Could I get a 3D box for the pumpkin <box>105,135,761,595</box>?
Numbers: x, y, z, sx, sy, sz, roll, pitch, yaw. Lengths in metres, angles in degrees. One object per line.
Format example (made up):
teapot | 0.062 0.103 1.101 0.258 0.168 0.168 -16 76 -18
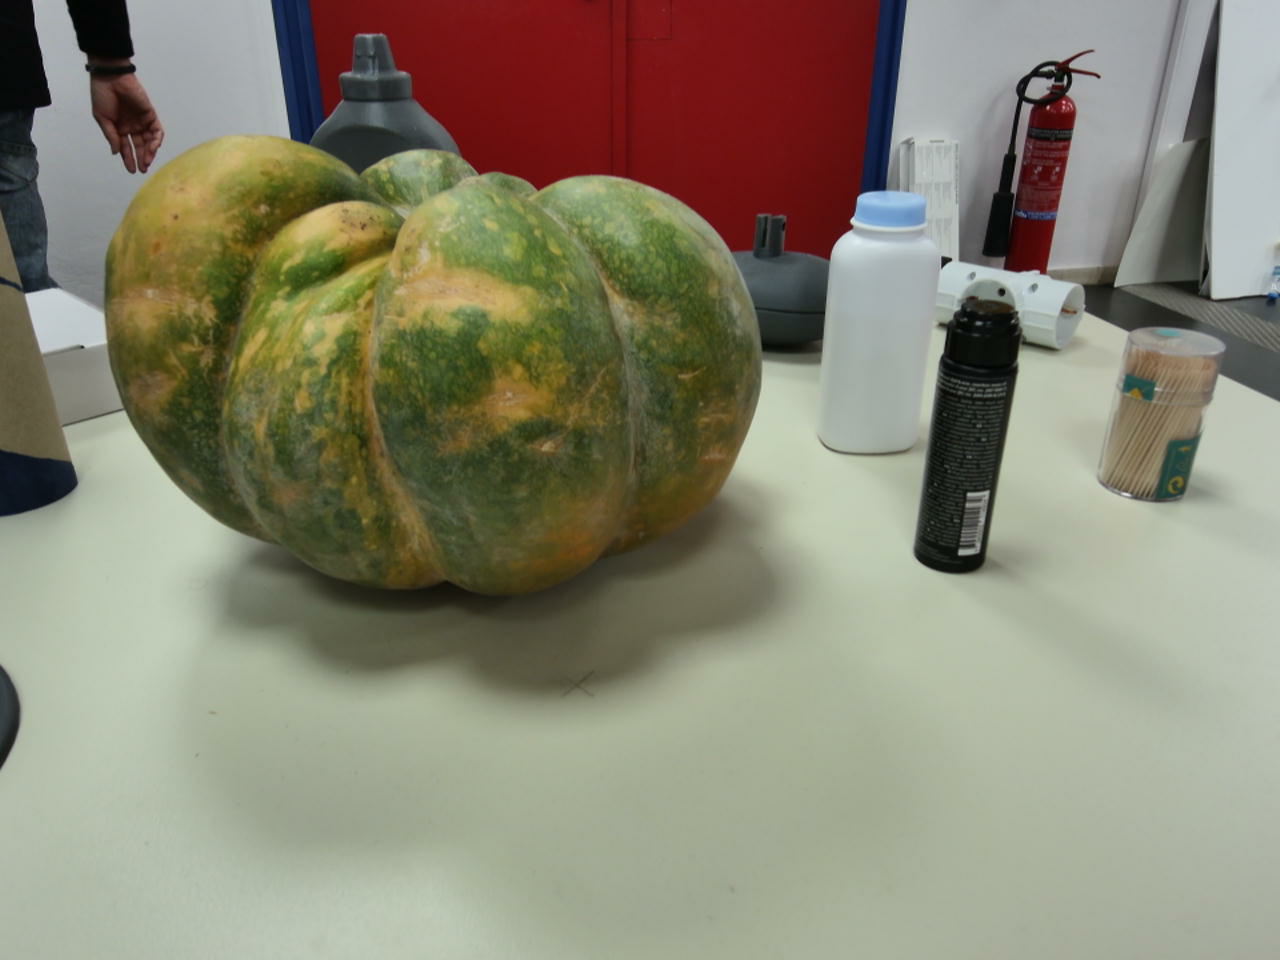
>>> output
pumpkin | -0.078 -0.057 0.420 0.270 0.173 0.237 10 27 22
